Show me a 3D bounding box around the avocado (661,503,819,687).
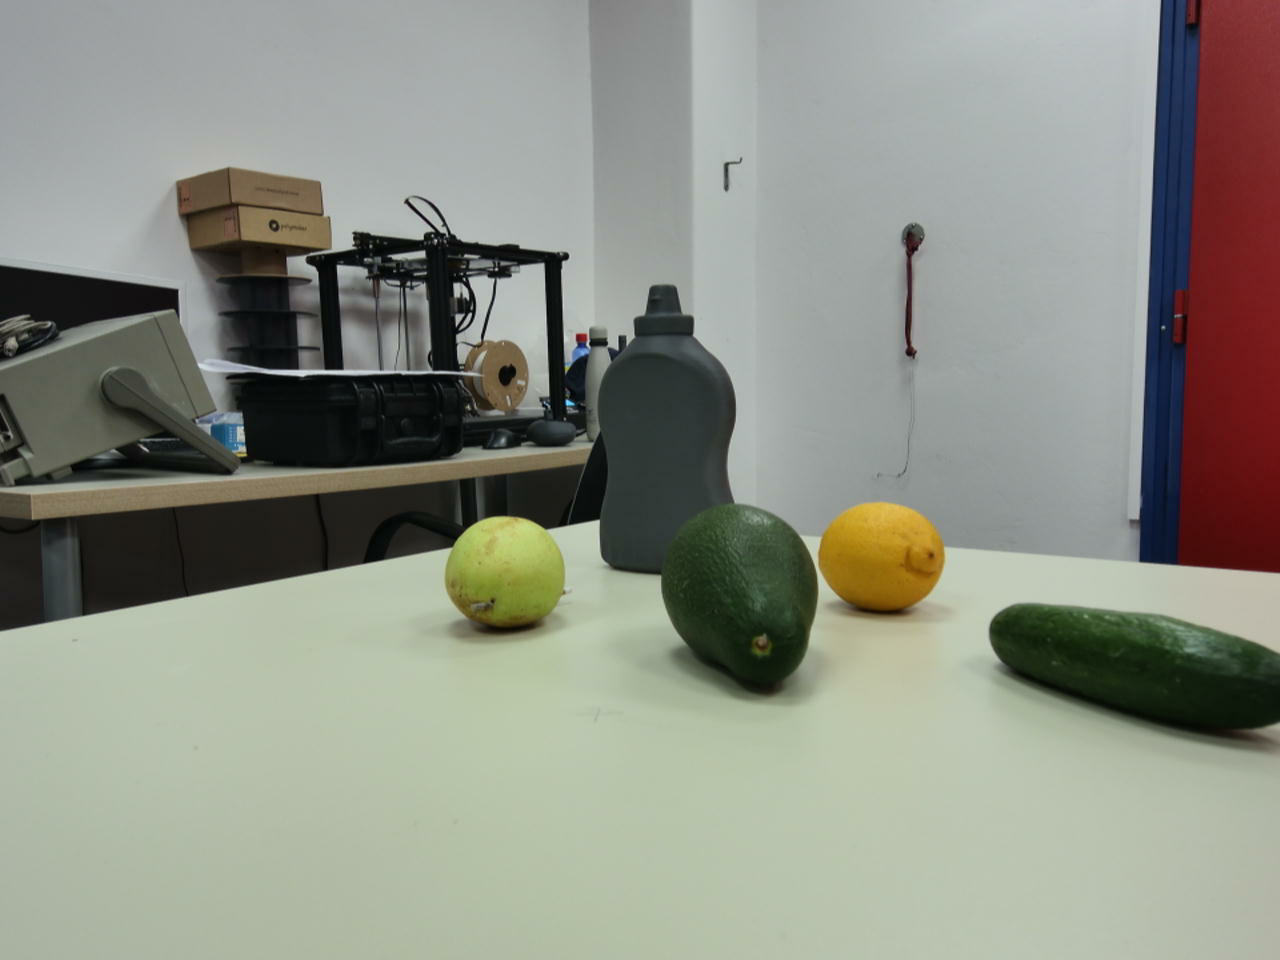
[{"bbox_3d":[0.042,0.048,0.444,0.073,0.071,0.109,1,3,15],"label":"avocado"}]
